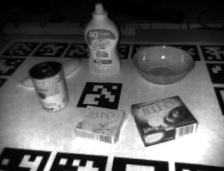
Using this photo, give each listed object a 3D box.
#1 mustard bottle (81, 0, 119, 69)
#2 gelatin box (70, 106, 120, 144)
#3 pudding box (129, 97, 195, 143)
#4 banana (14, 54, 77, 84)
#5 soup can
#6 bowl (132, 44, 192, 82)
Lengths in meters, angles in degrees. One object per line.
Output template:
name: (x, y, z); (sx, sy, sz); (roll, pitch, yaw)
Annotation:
mustard bottle: (-0.034, -0.138, 0.588); (0.096, 0.192, 0.058); (2, 37, 8)
gelatin box: (-0.035, 0.082, 0.465); (0.089, 0.030, 0.073); (6, 44, 14)
pudding box: (0.104, 0.065, 0.466); (0.114, 0.039, 0.089); (-13, 46, -11)
banana: (-0.179, -0.050, 0.631); (0.199, 0.039, 0.073); (-30, 35, -28)
soup can: (-0.157, -0.009, 0.515); (0.068, 0.102, 0.067); (-1, 38, 2)
bowl: (0.137, -0.058, 0.606); (0.161, 0.055, 0.161); (-3, 38, 3)
